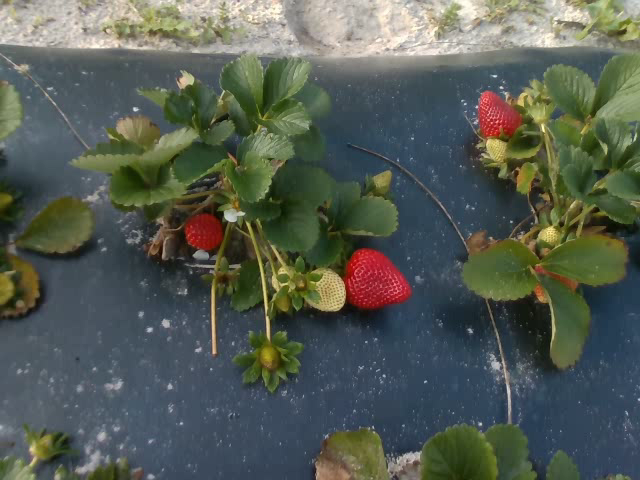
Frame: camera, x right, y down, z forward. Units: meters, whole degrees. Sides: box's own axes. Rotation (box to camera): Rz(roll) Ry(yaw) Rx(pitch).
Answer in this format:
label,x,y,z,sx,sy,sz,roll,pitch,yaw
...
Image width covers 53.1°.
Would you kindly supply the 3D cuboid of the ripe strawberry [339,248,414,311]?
label,x,y,z,sx,sy,sz,roll,pitch,yaw
ripe strawberry,0.048,0.036,0.501,0.055,0.051,0.048,27,7,39
